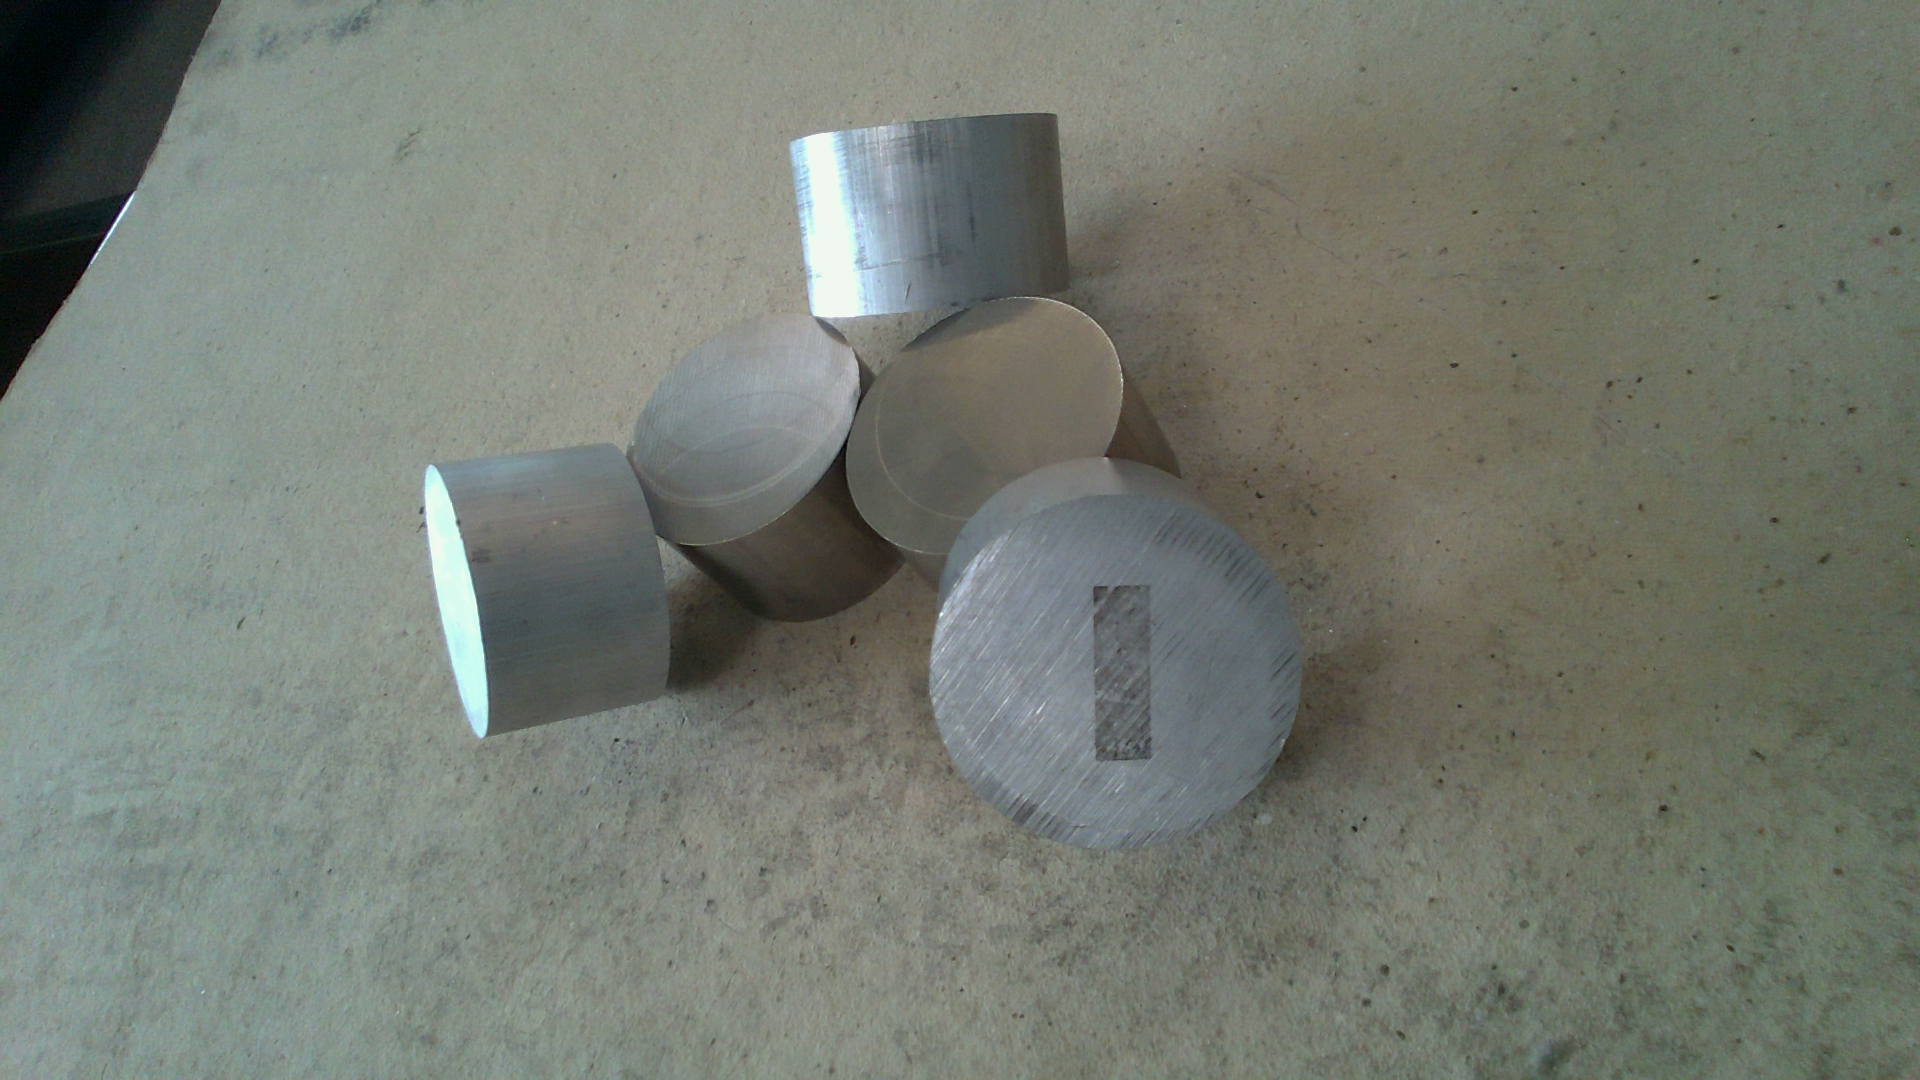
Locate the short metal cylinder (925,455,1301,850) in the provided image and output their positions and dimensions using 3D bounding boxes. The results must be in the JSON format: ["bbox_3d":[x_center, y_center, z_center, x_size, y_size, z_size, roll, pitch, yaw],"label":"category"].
[{"bbox_3d":[0.033,0.024,0.318,0.080,0.080,0.050,-32,10,7],"label":"short metal cylinder"}]

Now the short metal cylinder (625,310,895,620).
[{"bbox_3d":[-0.054,-0.023,0.421,0.080,0.050,0.080,-14,55,21],"label":"short metal cylinder"}]

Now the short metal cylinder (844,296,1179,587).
[{"bbox_3d":[0.015,-0.020,0.382,0.080,0.050,0.080,-14,55,21],"label":"short metal cylinder"}]

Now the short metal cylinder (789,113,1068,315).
[{"bbox_3d":[-0.009,-0.098,0.416,0.080,0.080,0.050,2,105,29],"label":"short metal cylinder"}]

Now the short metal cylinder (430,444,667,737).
[{"bbox_3d":[-0.124,0.013,0.409,0.050,0.080,0.080,-10,45,-27],"label":"short metal cylinder"}]
